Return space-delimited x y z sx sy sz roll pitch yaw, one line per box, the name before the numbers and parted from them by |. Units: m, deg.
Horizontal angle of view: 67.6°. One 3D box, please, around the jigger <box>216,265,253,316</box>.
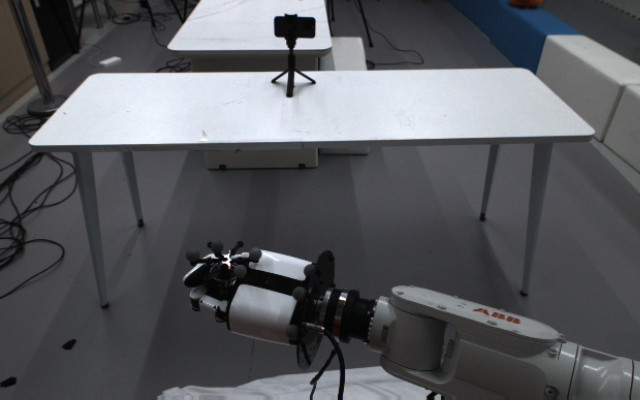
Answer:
jigger | -0.126 0.123 0.673 0.043 0.071 0.043 4 31 -2
